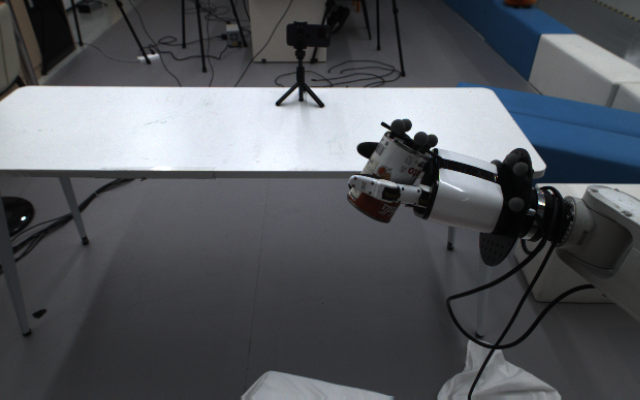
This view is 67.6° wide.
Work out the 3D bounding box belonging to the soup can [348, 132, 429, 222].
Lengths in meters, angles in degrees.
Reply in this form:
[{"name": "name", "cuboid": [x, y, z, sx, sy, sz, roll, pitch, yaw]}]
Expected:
[{"name": "soup can", "cuboid": [0.090, -0.030, 0.634, 0.067, 0.101, 0.067, 27, 18, -9]}]
